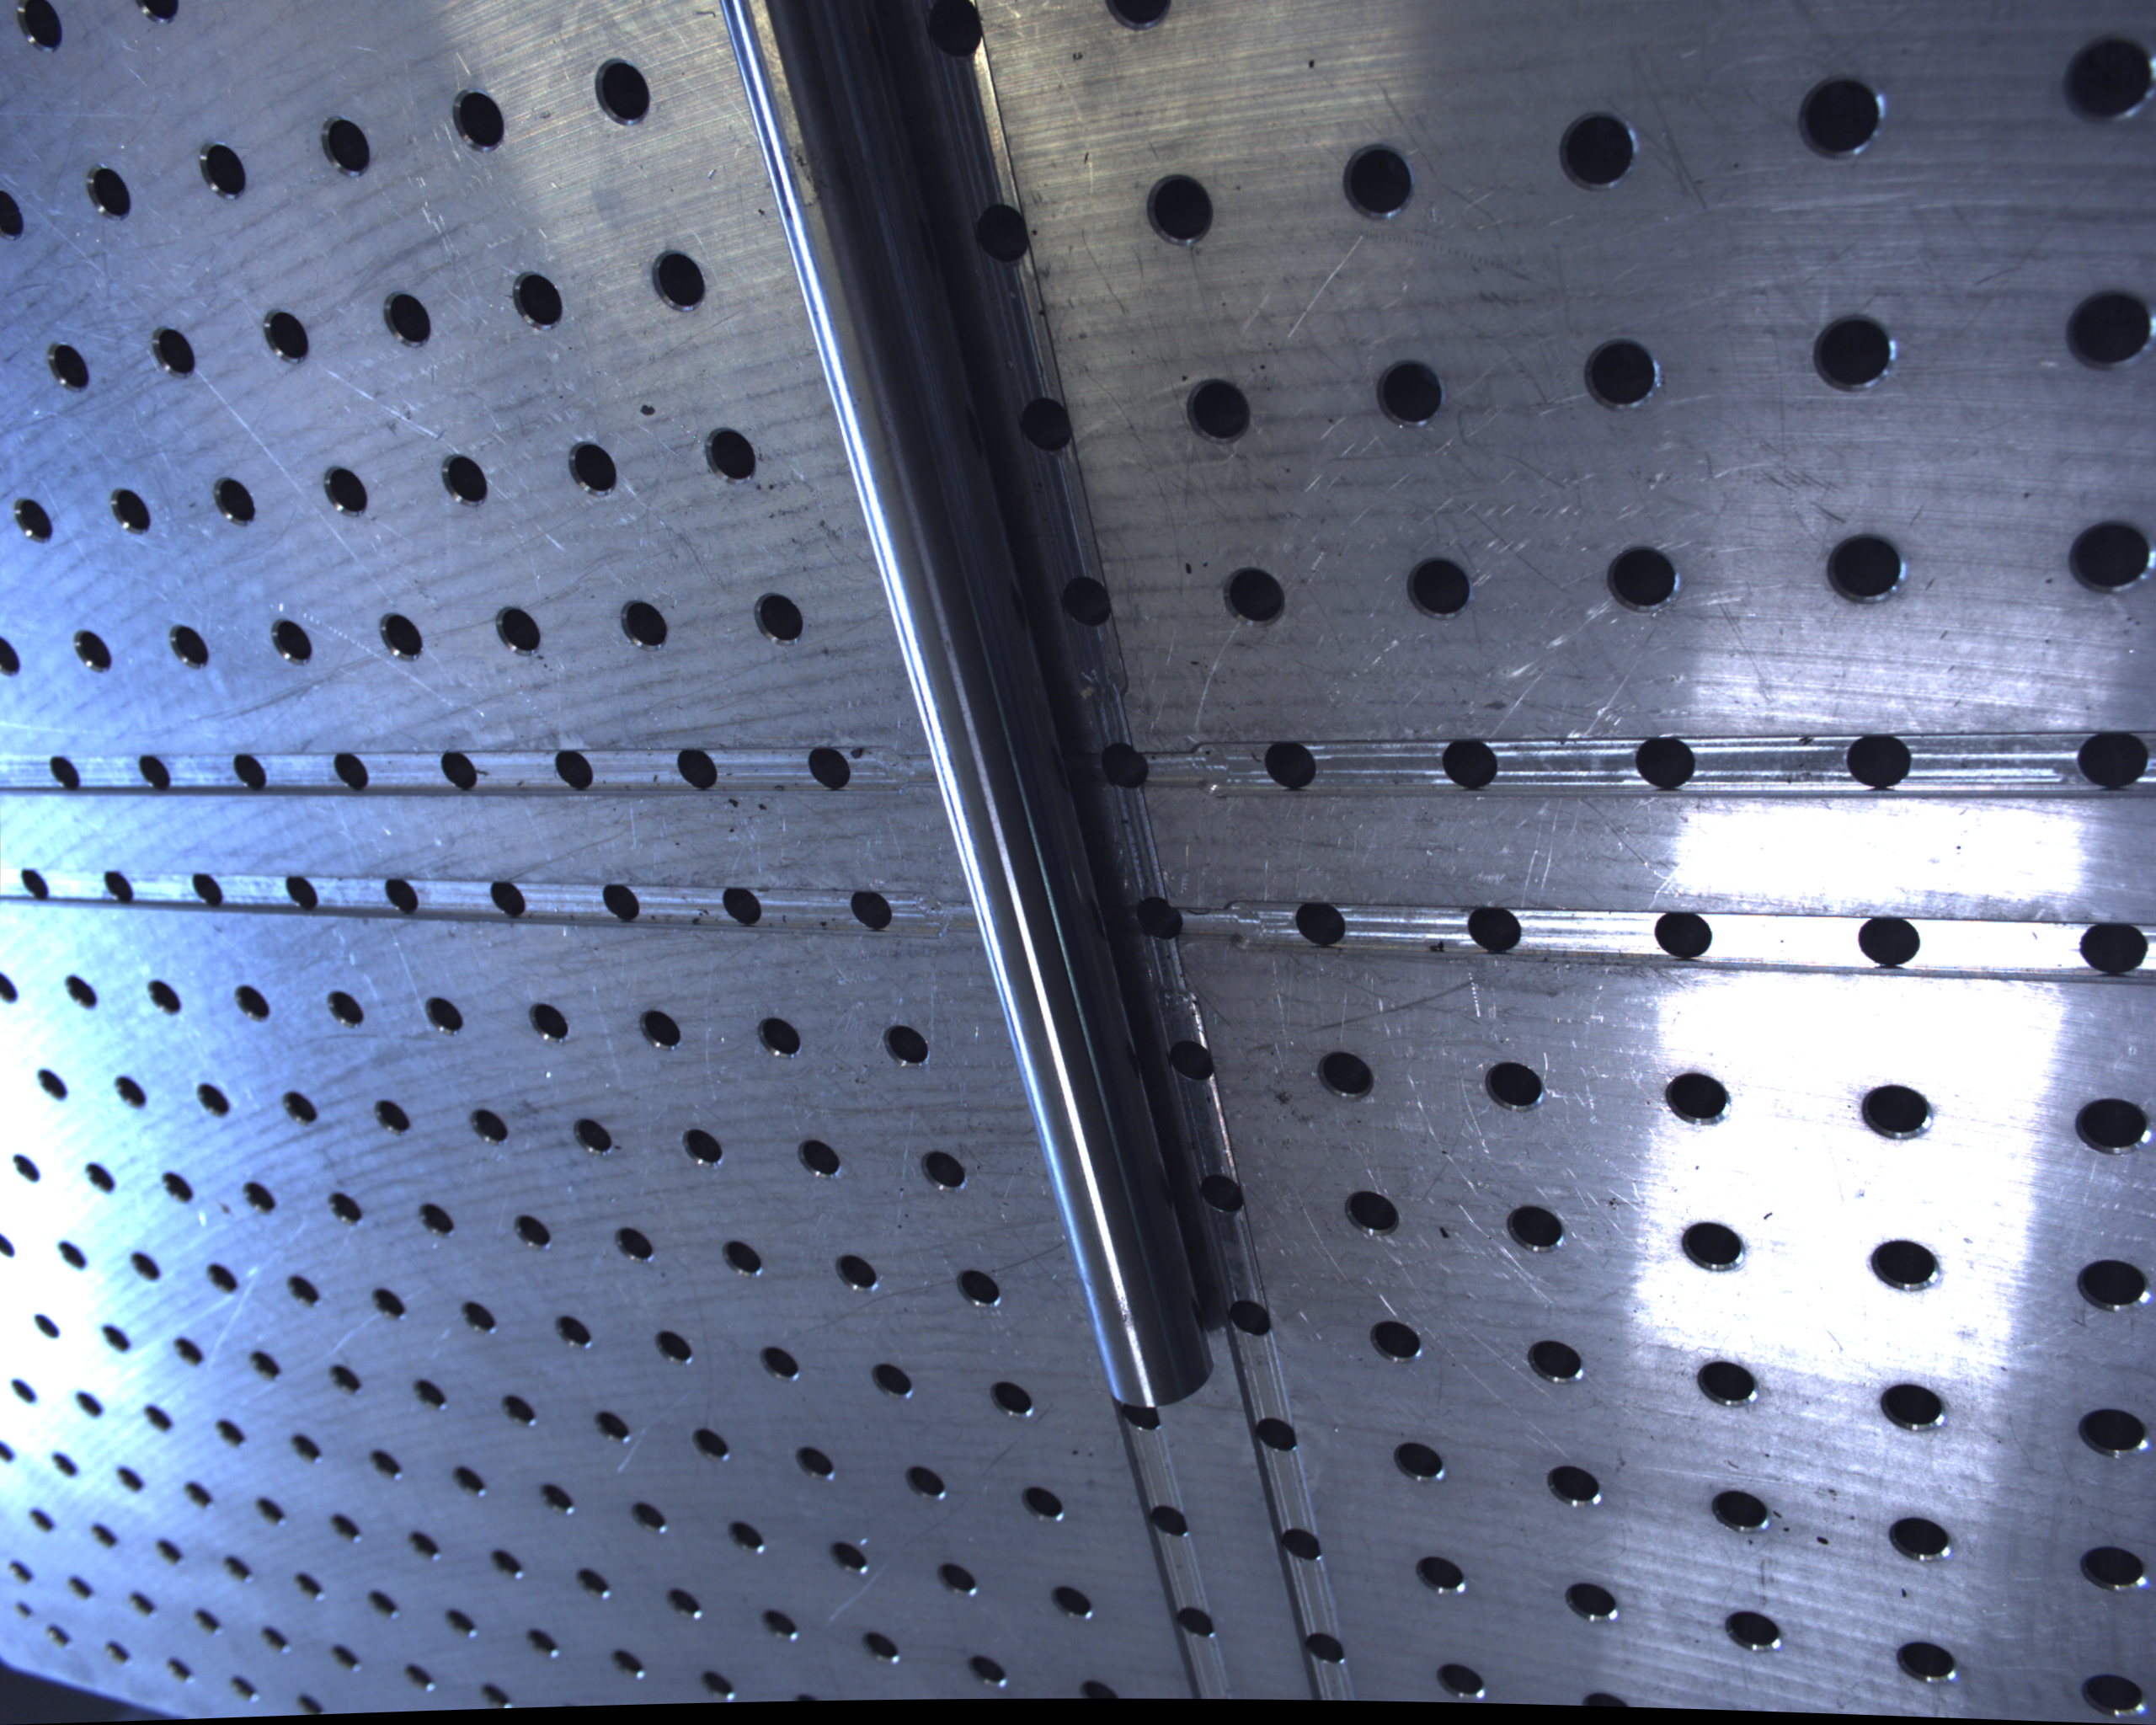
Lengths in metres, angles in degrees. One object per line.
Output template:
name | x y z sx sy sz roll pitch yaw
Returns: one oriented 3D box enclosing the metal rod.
metal rod | -0.014 -0.016 0.410 0.025 0.025 0.298 0 119 28
